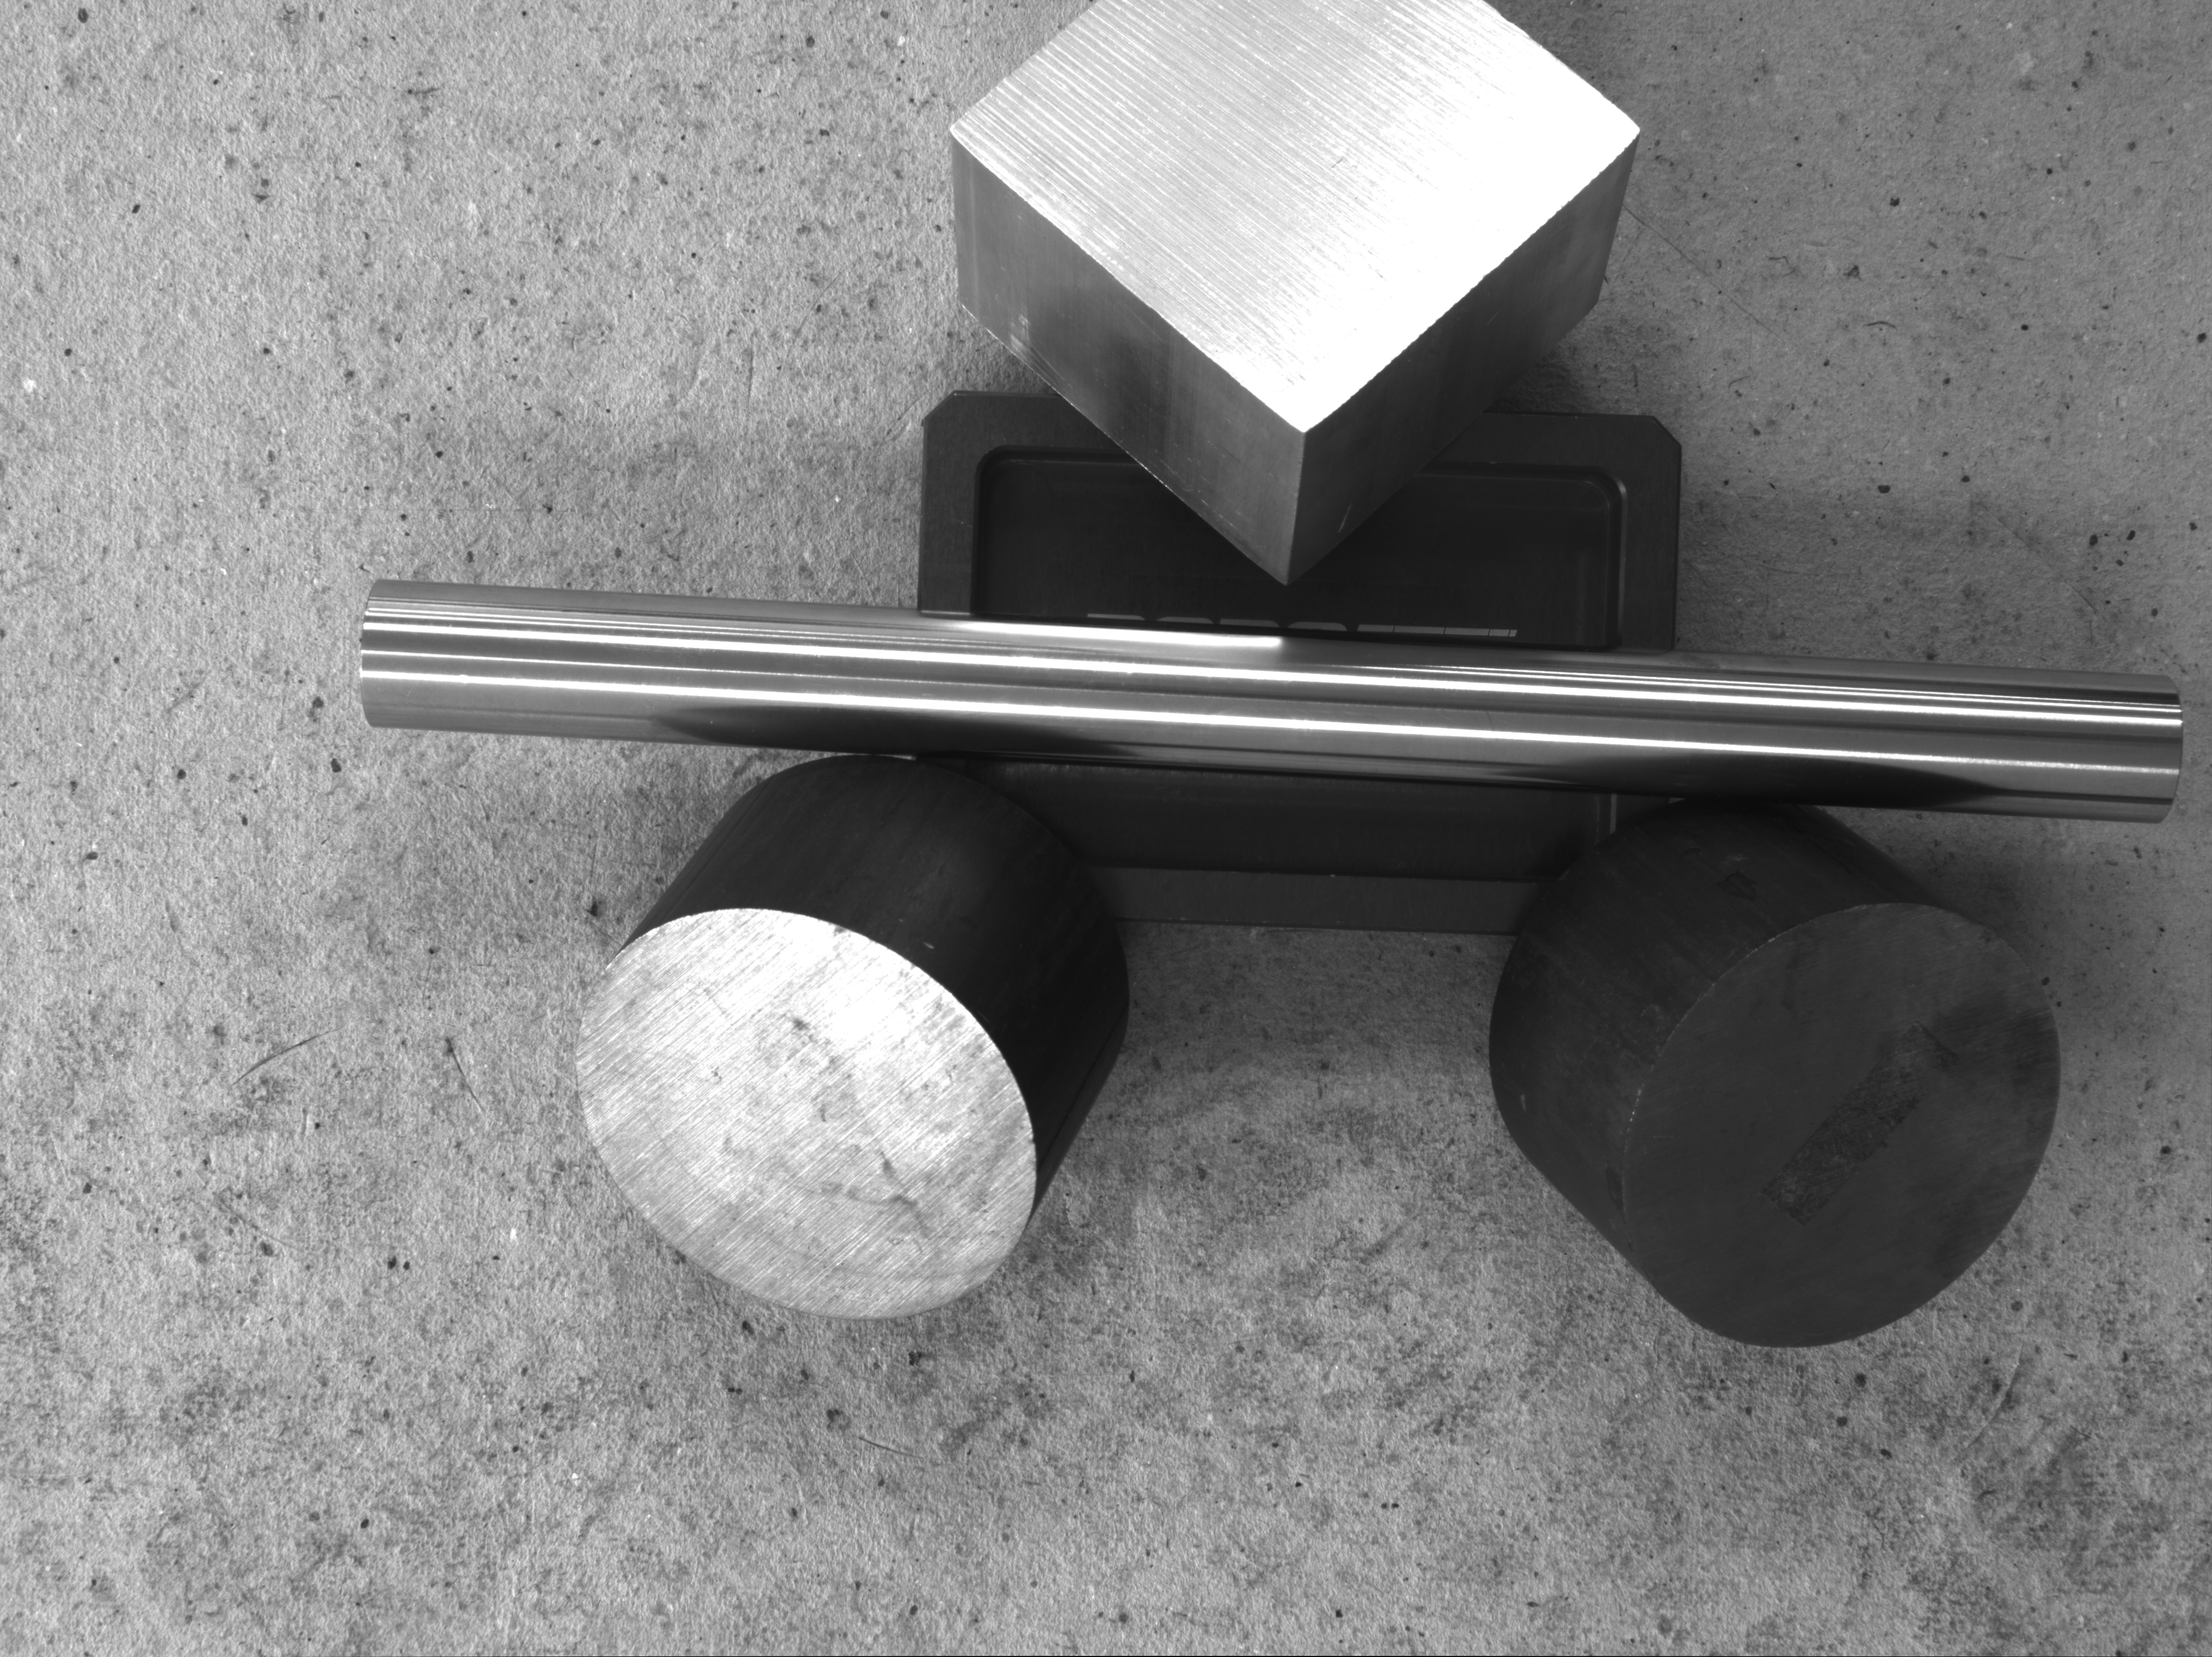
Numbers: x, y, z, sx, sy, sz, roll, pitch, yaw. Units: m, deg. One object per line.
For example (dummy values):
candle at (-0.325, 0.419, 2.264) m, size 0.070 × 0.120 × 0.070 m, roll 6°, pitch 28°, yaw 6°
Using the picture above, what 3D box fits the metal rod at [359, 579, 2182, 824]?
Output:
metal rod at (0.027, -0.021, 0.616) m, size 0.300 × 0.025 × 0.025 m, roll 3°, pitch 90°, yaw 0°

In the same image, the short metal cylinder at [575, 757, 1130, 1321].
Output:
short metal cylinder at (-0.042, 0.035, 0.615) m, size 0.080 × 0.050 × 0.080 m, roll 9°, pitch 122°, yaw 15°

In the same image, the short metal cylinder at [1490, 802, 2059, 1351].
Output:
short metal cylinder at (0.111, 0.040, 0.617) m, size 0.080 × 0.050 × 0.080 m, roll -8°, pitch 114°, yaw -17°

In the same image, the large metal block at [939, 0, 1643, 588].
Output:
large metal block at (0.030, -0.102, 0.612) m, size 0.080 × 0.050 × 0.080 m, roll 42°, pitch 73°, yaw 16°

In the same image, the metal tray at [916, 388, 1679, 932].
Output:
metal tray at (0.032, -0.028, 0.644) m, size 0.130 × 0.030 × 0.090 m, roll 2°, pitch 90°, yaw 0°
